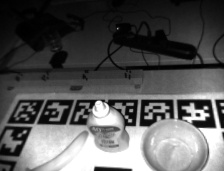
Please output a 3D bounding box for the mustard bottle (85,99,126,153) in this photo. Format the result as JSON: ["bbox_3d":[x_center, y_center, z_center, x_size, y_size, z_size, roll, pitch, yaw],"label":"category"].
[{"bbox_3d":[-0.023,0.101,0.542,0.095,0.193,0.058,-1,46,12],"label":"mustard bottle"}]

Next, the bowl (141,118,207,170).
[{"bbox_3d":[0.155,0.165,0.557,0.161,0.056,0.161,-7,47,8],"label":"bowl"}]

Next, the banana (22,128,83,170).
[{"bbox_3d":[-0.156,0.193,0.610,0.198,0.039,0.073,-37,41,-20],"label":"banana"}]
